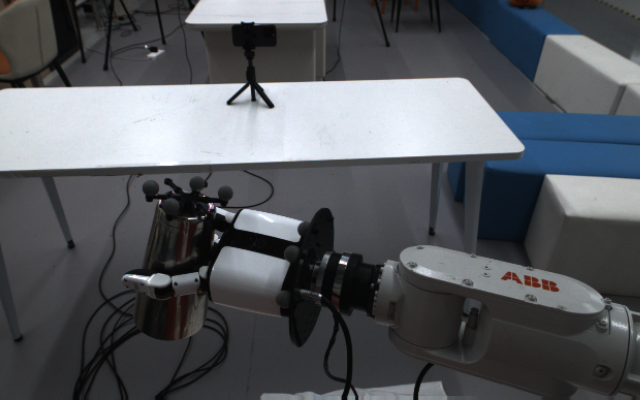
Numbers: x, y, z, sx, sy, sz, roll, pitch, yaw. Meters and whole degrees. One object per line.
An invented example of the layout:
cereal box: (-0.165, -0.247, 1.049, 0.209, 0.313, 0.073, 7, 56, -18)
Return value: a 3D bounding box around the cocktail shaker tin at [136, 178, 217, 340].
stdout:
cocktail shaker tin: (-0.170, 0.075, 0.585, 0.093, 0.170, 0.093, 12, 29, -7)
